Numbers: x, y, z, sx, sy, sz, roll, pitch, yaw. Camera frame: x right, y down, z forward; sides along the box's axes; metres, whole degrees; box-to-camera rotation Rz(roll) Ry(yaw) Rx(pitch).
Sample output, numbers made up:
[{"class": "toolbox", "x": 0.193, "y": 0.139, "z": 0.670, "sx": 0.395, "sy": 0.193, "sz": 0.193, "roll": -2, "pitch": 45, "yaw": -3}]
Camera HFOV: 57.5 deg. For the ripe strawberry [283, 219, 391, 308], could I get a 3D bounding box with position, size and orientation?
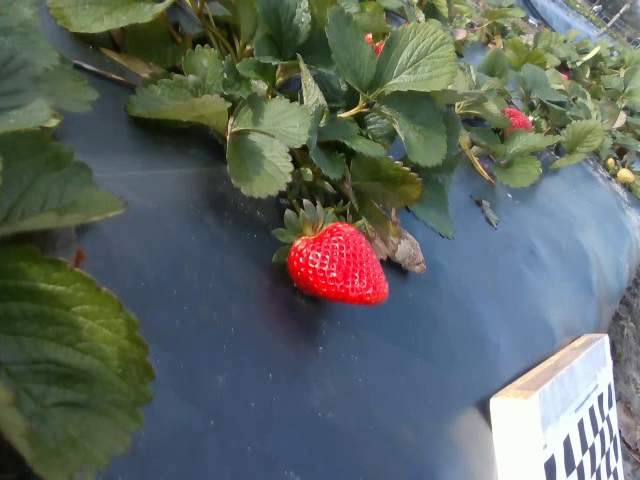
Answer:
[{"class": "ripe strawberry", "x": 0.011, "y": 0.014, "z": 0.274, "sx": 0.057, "sy": 0.051, "sz": 0.045, "roll": 41, "pitch": 20, "yaw": 31}]
